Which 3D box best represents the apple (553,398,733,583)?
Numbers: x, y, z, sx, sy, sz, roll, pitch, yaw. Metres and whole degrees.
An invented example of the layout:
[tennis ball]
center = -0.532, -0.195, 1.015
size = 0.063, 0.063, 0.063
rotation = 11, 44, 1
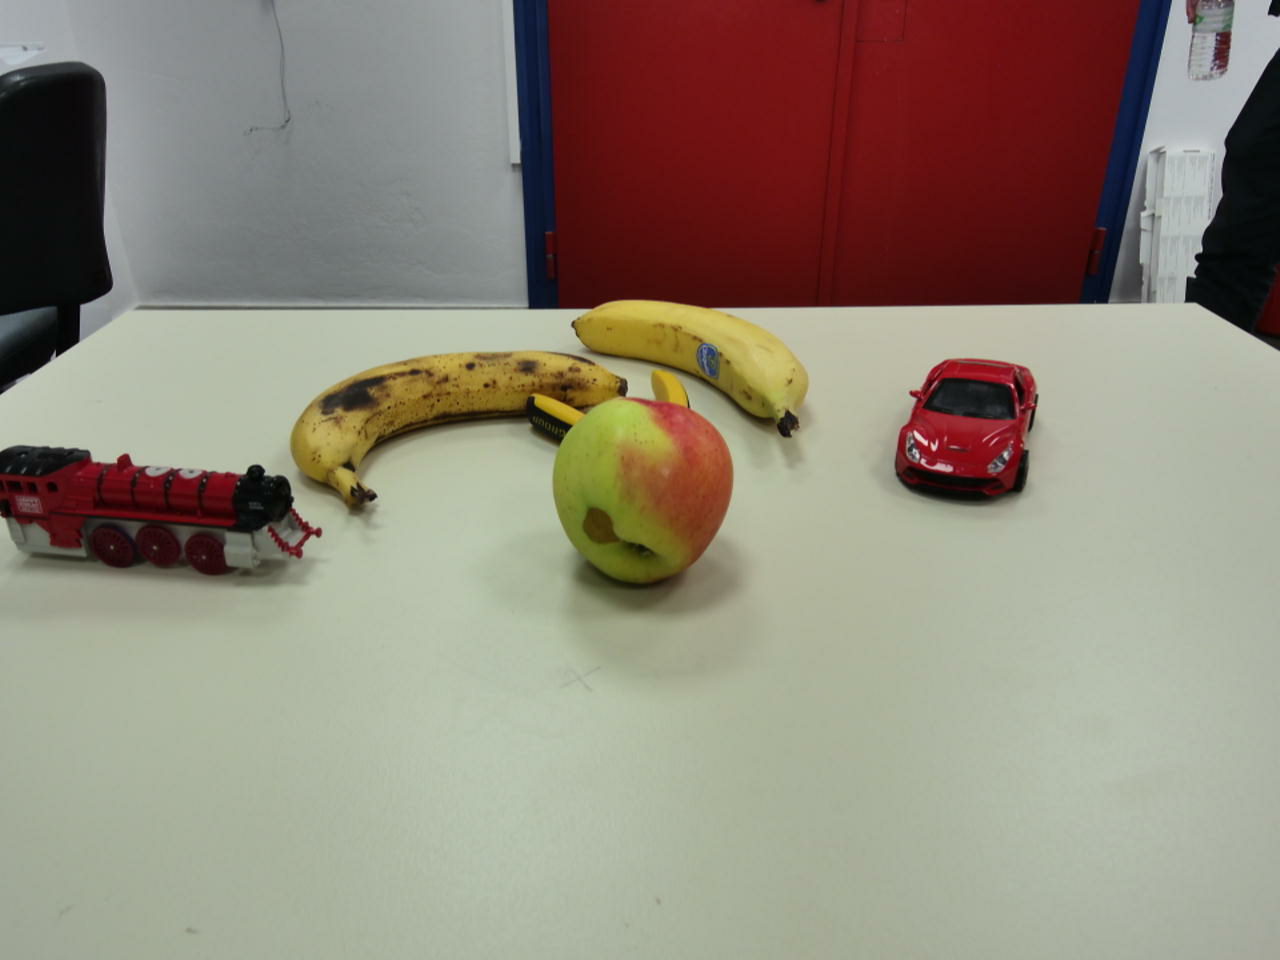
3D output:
[apple]
center = 0.002, 0.003, 0.411
size = 0.075, 0.074, 0.075
rotation = -8, 25, -18
